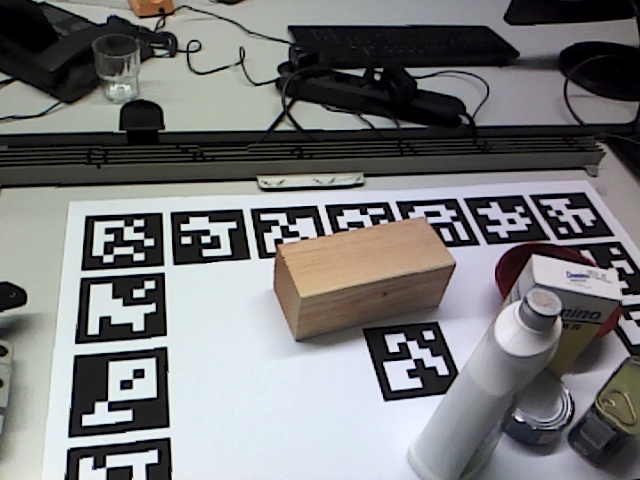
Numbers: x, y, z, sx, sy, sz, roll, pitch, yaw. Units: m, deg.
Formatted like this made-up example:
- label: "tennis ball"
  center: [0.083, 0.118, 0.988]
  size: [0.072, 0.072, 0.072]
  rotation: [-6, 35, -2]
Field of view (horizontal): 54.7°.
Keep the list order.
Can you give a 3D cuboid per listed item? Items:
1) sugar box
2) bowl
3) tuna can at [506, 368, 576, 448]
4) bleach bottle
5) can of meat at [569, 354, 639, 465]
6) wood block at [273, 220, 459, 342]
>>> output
- label: "sugar box"
  center: [0.259, 0.094, 0.697]
  size: [0.093, 0.176, 0.045]
  rotation: [10, 46, 6]
- label: "bowl"
  center: [0.313, 0.076, 0.814]
  size: [0.161, 0.055, 0.162]
  rotation: [2, 45, -2]
- label: "tuna can"
  center: [0.241, 0.189, 0.700]
  size: [0.085, 0.033, 0.086]
  rotation: [4, 48, -5]
- label: "bleach bottle"
  center: [0.160, 0.138, 0.590]
  size: [0.102, 0.250, 0.068]
  rotation: [-25, 52, -29]
- label: "can of meat"
  center: [0.331, 0.189, 0.687]
  size: [0.101, 0.083, 0.058]
  rotation: [-28, 52, -33]
- label: "wood block"
  center: [0.054, 0.048, 0.782]
  size: [0.205, 0.090, 0.091]
  rotation: [-10, 52, -19]
